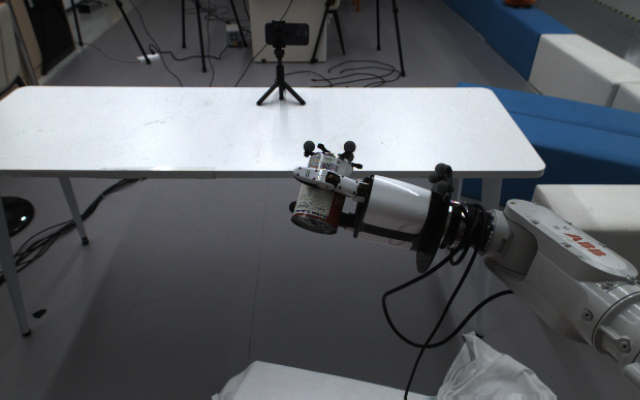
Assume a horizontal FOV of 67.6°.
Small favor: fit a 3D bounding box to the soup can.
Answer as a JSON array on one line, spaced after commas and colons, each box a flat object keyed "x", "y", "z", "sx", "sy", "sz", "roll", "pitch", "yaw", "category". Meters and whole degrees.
[{"x": 0.005, "y": -0.009, "z": 0.696, "sx": 0.067, "sy": 0.067, "sz": 0.101, "roll": 11, "pitch": 72, "yaw": 13, "category": "soup can"}]
